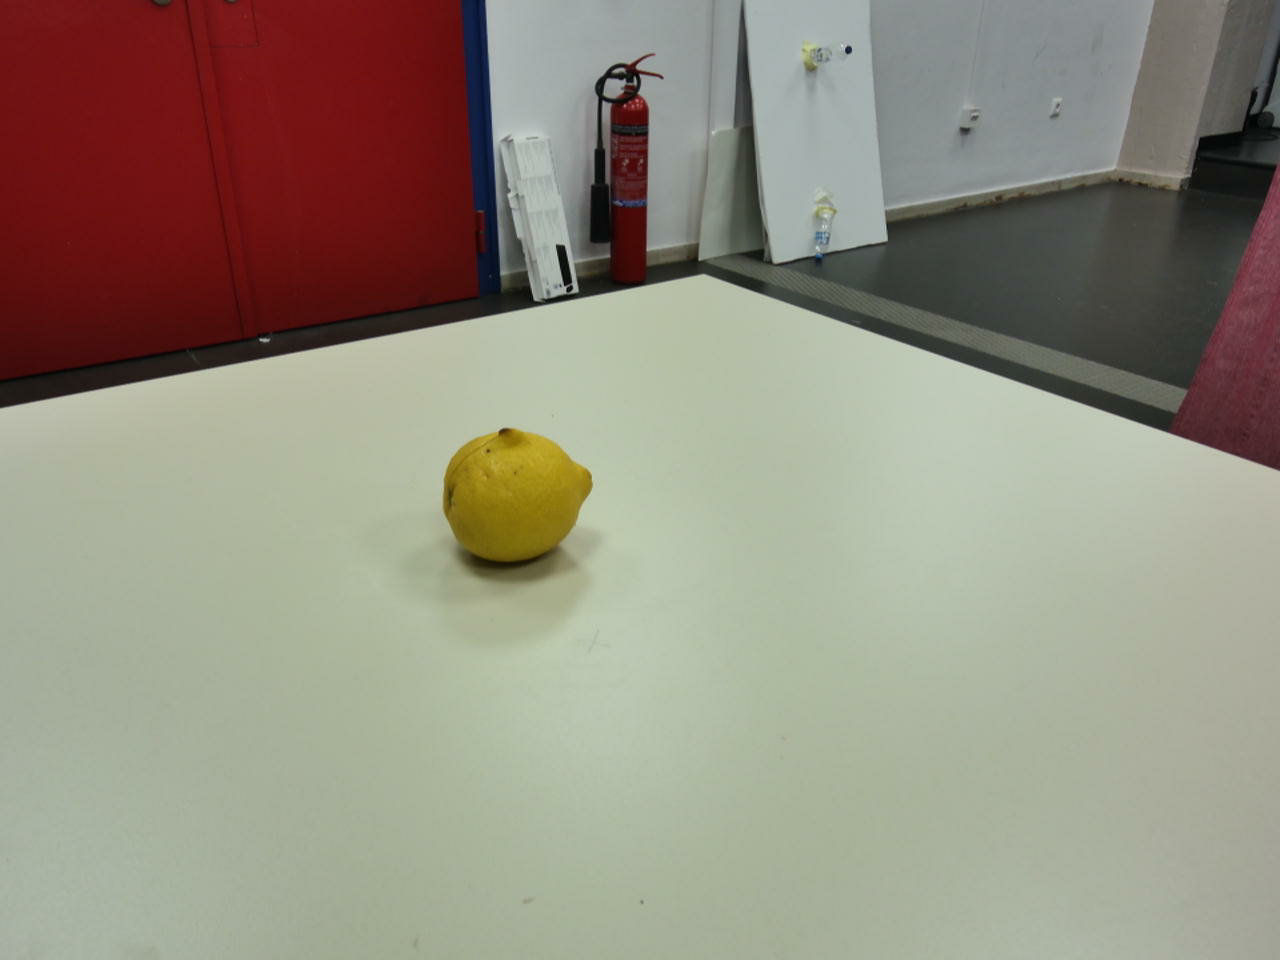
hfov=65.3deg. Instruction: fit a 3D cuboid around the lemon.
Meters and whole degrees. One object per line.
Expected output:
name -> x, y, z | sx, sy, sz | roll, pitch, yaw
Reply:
lemon -> -0.066, 0.005, 0.513 | 0.071, 0.071, 0.070 | 8, 26, 17
